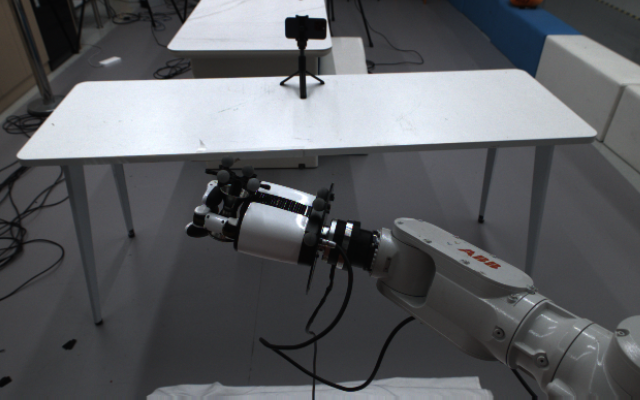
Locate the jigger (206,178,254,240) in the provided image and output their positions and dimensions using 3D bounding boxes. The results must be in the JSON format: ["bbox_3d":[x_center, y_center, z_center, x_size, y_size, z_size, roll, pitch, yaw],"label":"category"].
[{"bbox_3d":[-0.124,0.019,0.668,0.043,0.071,0.043,18,17,-6],"label":"jigger"}]
